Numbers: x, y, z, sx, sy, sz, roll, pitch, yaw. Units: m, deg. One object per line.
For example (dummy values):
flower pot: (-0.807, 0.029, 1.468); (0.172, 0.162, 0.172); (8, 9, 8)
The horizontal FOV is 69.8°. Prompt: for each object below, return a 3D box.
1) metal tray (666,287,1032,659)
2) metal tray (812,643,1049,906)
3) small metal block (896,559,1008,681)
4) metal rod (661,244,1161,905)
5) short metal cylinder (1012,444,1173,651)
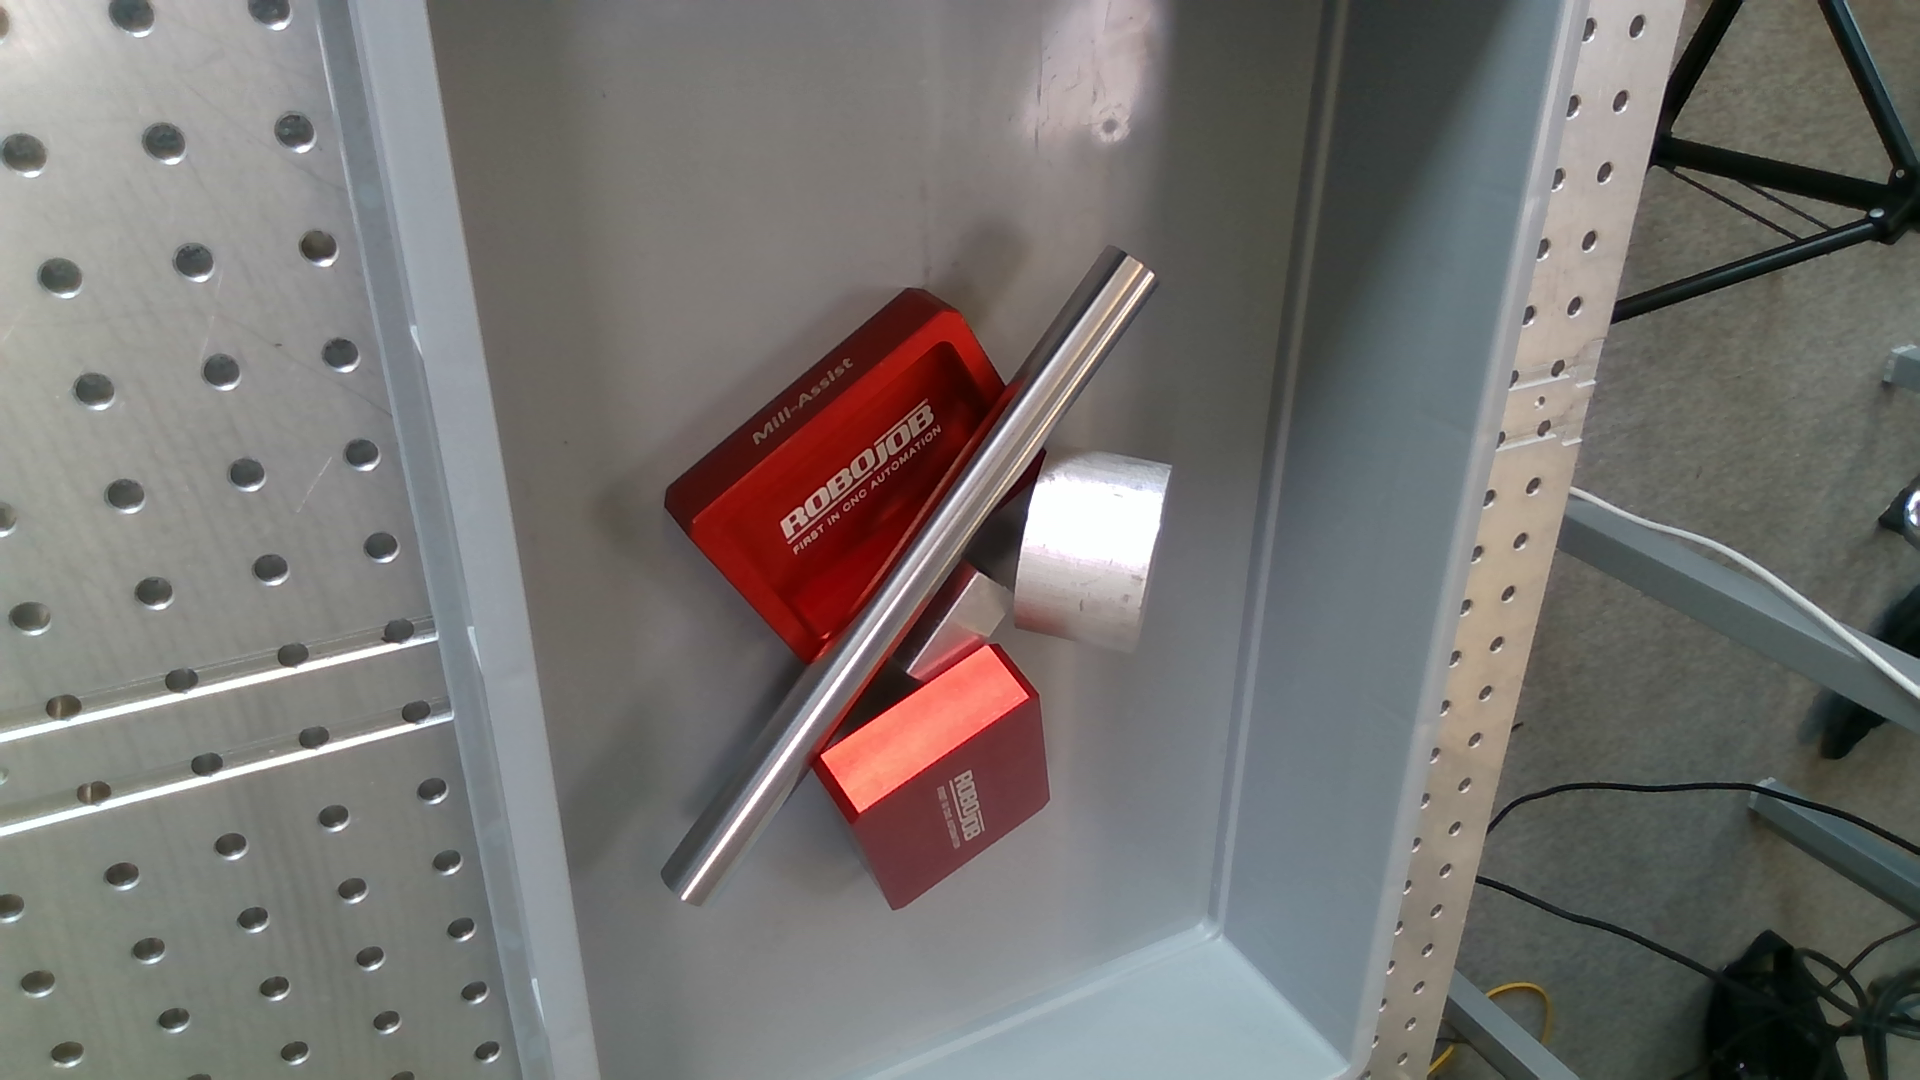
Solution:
metal tray: (-0.038, -0.024, 0.540); (0.130, 0.030, 0.090); (-41, 129, -6)
metal tray: (-0.008, 0.105, 0.596); (0.090, 0.030, 0.130); (-33, 152, -13)
small metal block: (-0.011, 0.028, 0.571); (0.025, 0.050, 0.050); (31, 96, -39)
metal rod: (-0.021, 0.016, 0.537); (0.025, 0.025, 0.300); (32, 96, -39)
short metal cylinder: (0.056, 0.003, 0.572); (0.050, 0.080, 0.080); (12, 115, 9)
